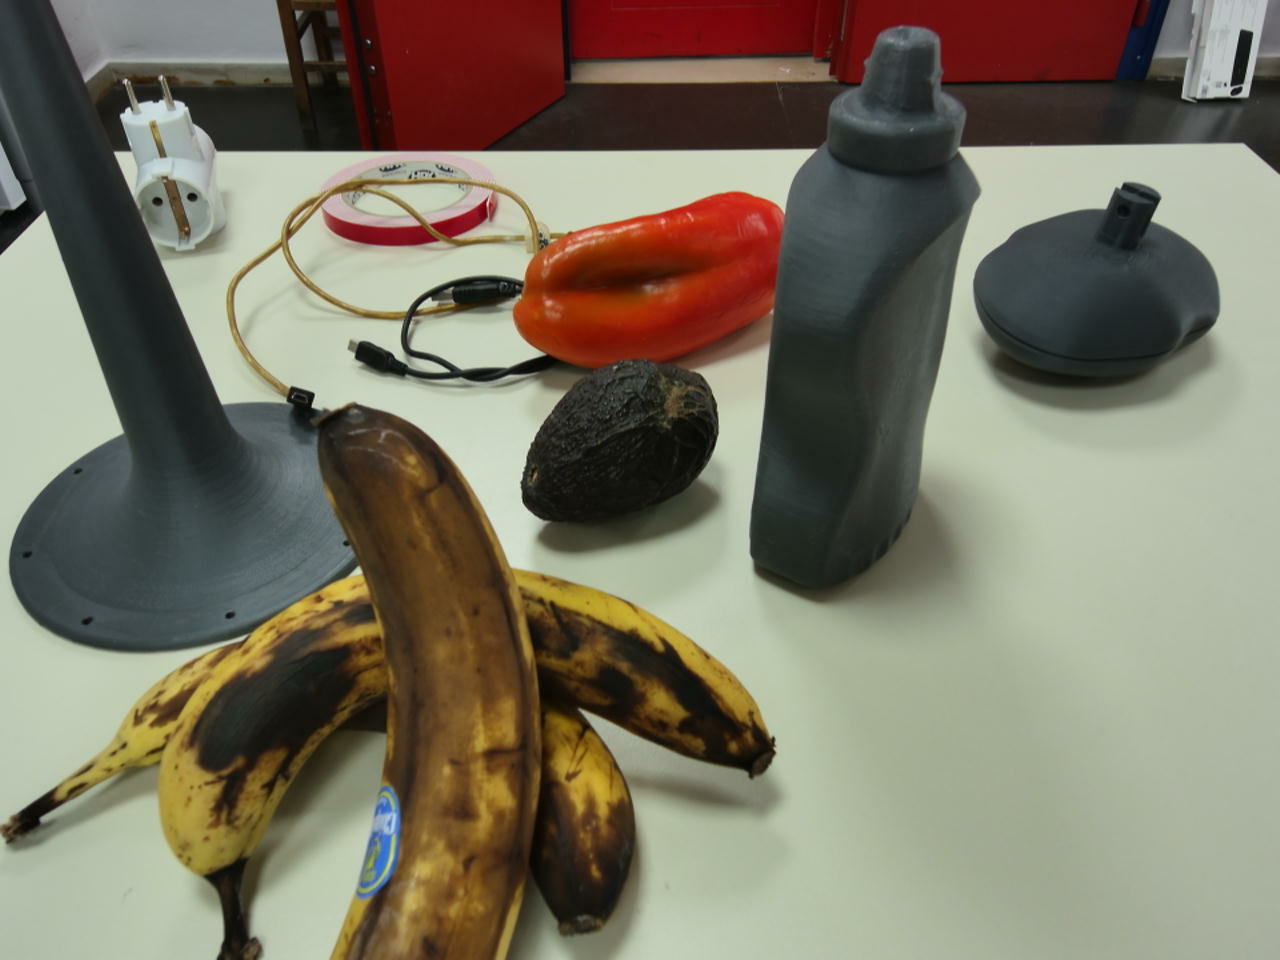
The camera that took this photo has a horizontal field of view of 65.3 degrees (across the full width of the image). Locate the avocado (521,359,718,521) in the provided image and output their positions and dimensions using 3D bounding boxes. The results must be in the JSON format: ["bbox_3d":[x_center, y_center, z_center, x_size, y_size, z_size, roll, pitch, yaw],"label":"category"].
[{"bbox_3d":[-0.010,-0.018,0.422,0.092,0.062,0.062,-15,41,-18],"label":"avocado"}]
